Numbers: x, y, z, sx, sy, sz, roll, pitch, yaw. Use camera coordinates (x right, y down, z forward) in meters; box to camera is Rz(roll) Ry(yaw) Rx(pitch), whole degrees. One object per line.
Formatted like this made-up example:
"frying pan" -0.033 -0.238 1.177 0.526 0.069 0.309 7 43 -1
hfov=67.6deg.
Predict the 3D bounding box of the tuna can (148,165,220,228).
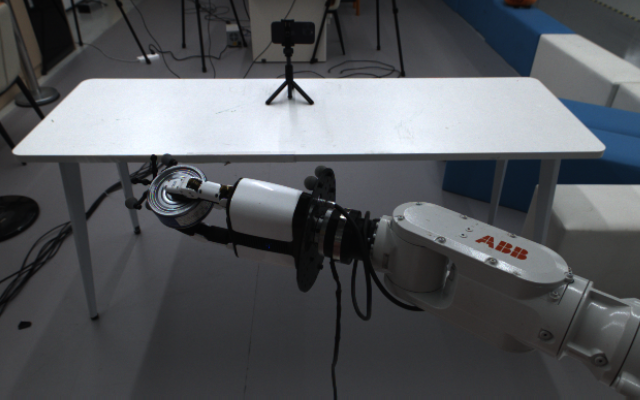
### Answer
"tuna can" -0.188 -0.006 0.660 0.085 0.034 0.085 -4 60 6
